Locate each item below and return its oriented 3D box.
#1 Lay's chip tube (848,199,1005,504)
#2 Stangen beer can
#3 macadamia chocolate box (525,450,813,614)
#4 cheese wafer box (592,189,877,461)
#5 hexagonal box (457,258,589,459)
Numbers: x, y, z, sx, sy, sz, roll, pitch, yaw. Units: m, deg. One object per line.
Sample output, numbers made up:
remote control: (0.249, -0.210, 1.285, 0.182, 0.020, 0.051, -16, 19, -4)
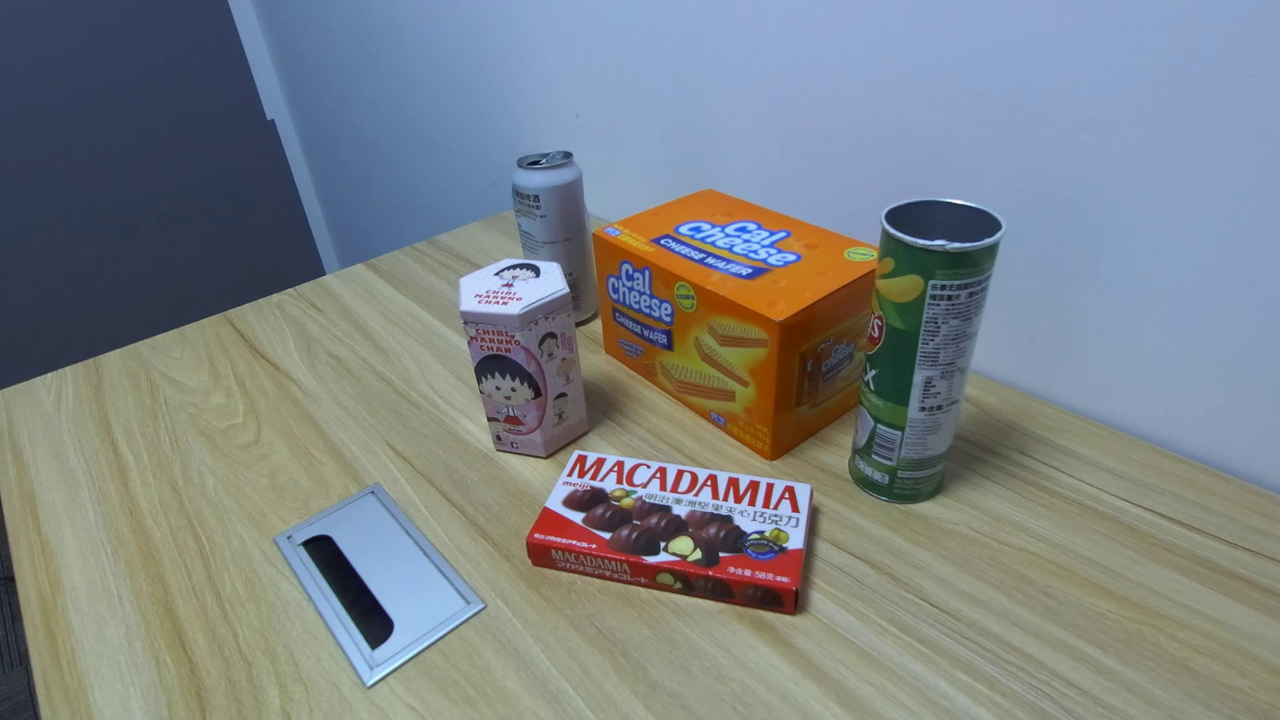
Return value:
Lay's chip tube: (0.185, 0.000, 0.470, 0.071, 0.203, 0.071, -4, 34, 3)
Stangen beer can: (-0.083, -0.122, 0.709, 0.070, 0.173, 0.070, 17, 38, 30)
macadamia chocolate box: (0.023, 0.112, 0.482, 0.177, 0.027, 0.095, 7, 35, 16)
cheese wafer box: (0.085, -0.044, 0.614, 0.149, 0.129, 0.220, -27, 41, -30)
hexagonal box: (-0.090, 0.000, 0.562, 0.091, 0.136, 0.084, 6, 35, 15)
